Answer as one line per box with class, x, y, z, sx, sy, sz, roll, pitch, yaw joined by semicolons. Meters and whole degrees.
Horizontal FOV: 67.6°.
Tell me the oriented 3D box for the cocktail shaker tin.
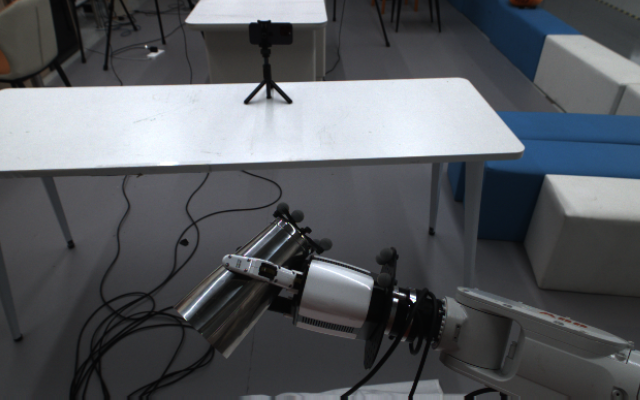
cocktail shaker tin;-0.090;0.100;0.617;0.093;0.093;0.170;32;65;35
